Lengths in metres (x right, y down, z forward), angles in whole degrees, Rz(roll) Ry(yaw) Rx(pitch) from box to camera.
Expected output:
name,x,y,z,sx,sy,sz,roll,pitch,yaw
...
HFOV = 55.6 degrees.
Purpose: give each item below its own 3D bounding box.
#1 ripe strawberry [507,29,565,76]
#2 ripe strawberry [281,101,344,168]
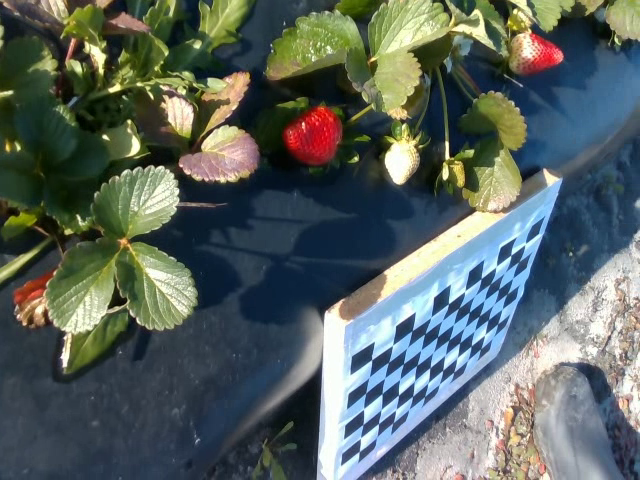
name,x,y,z,sx,sy,sz,roll,pitch,yaw
ripe strawberry,0.157,-0.136,0.445,0.045,0.042,0.037,9,-33,21
ripe strawberry,-0.007,-0.061,0.339,0.036,0.044,0.053,35,24,26
